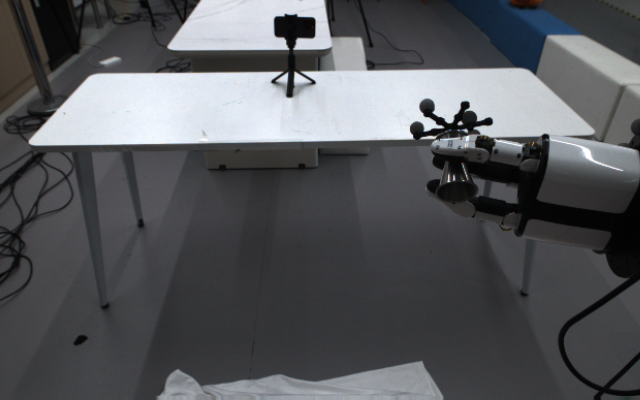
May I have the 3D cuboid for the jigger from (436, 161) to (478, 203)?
[{"bbox_3d":[0.146,-0.039,0.527,0.043,0.043,0.071,4,61,2],"label":"jigger"}]
